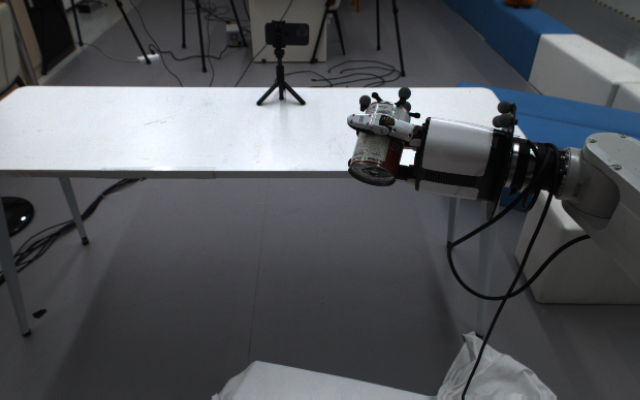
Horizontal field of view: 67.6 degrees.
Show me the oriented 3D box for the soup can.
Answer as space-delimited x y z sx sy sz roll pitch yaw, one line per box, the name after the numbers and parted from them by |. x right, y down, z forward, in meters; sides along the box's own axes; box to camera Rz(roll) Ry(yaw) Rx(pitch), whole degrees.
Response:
0.085 -0.081 0.685 0.067 0.067 0.101 12 71 14 | soup can
